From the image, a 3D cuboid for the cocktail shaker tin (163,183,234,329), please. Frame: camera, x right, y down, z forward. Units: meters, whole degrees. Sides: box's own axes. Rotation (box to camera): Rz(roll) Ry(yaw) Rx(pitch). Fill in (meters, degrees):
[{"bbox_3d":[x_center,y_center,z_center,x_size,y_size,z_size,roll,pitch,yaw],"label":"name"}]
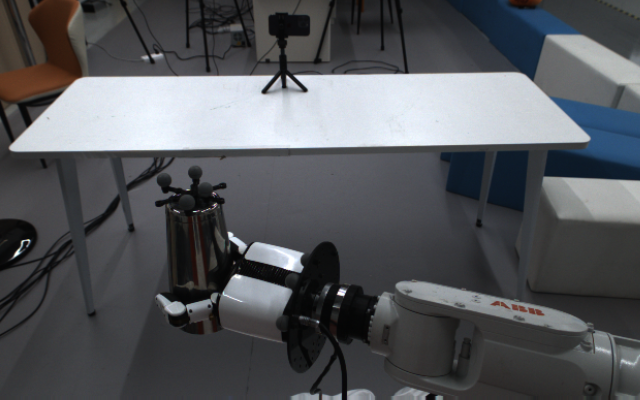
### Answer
[{"bbox_3d":[-0.152,0.076,0.617,0.093,0.170,0.093,1,28,0],"label":"cocktail shaker tin"}]
